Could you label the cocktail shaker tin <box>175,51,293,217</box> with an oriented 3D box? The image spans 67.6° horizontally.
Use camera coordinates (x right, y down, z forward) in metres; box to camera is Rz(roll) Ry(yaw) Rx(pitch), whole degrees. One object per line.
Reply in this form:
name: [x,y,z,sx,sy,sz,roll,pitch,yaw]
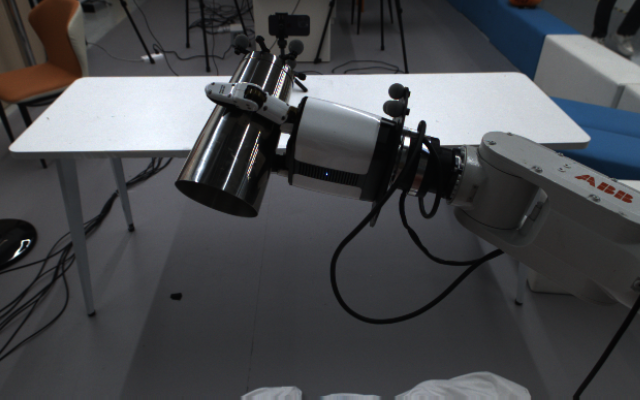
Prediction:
cocktail shaker tin: [-0.084,-0.076,0.537,0.093,0.093,0.170,12,71,14]
